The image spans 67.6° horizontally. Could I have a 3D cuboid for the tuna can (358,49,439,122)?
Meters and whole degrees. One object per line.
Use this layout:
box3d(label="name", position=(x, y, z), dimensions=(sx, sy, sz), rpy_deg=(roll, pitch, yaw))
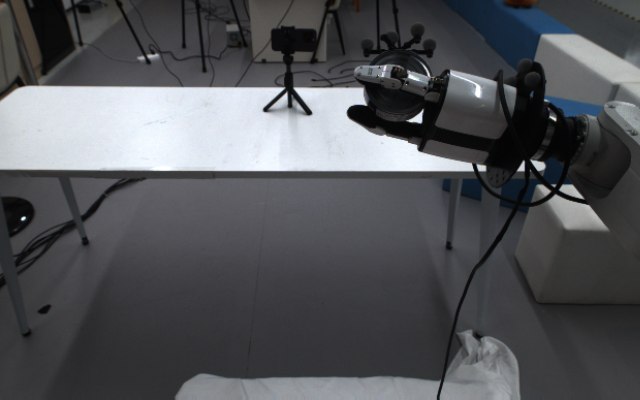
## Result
box3d(label="tuna can", position=(0.098, -0.145, 0.613), dimensions=(0.085, 0.034, 0.085), rpy_deg=(-1, 75, 4))
